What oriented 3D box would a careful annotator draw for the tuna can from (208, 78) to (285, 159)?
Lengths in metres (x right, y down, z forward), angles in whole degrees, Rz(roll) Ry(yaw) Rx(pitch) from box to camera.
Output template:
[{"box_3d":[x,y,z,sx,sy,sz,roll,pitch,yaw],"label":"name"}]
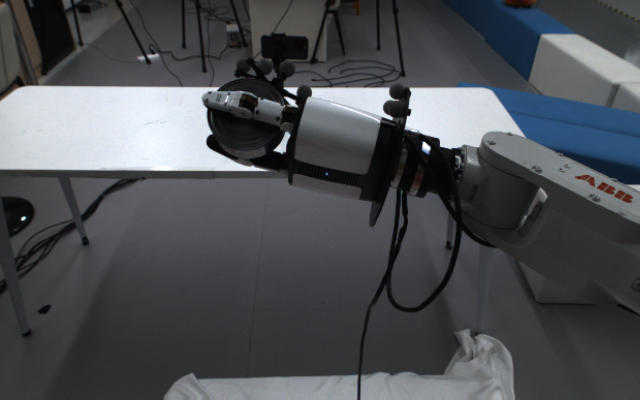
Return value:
[{"box_3d":[-0.079,-0.092,0.543,0.085,0.034,0.085,0,72,0],"label":"tuna can"}]
